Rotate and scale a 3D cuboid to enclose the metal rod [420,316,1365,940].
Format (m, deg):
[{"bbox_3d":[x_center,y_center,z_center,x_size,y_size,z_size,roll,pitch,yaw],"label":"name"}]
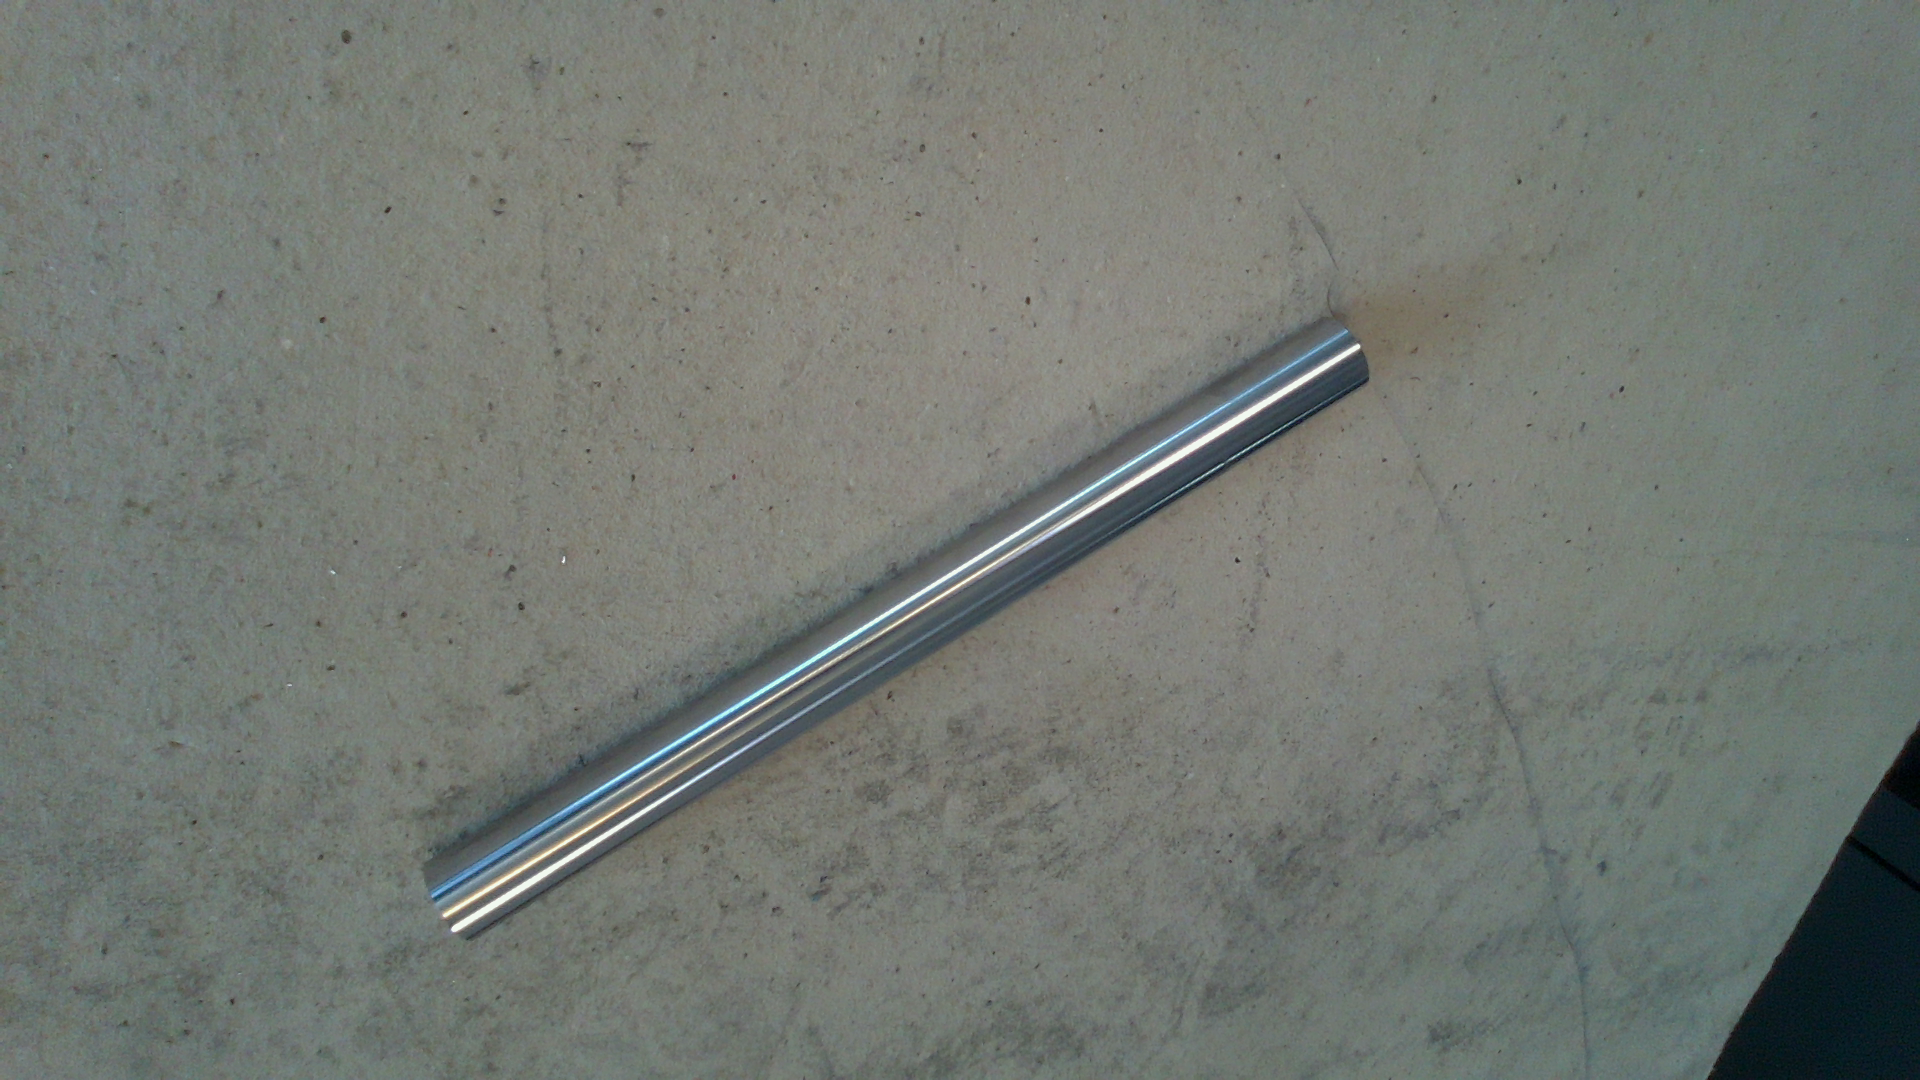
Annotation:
[{"bbox_3d":[-0.013,0.020,0.395,0.300,0.025,0.025,-31,129,-8],"label":"metal rod"}]
